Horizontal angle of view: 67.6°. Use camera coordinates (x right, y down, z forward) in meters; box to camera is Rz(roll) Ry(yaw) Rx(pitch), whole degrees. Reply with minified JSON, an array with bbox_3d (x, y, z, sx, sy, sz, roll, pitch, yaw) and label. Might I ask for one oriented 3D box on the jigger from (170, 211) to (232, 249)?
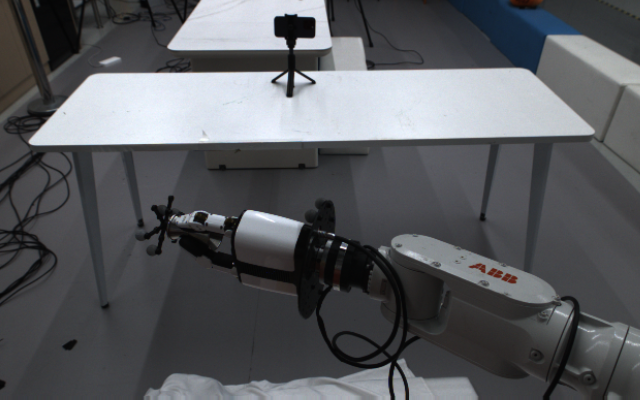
[{"bbox_3d":[-0.173,0.041,0.692,0.071,0.043,0.043,10,35,16],"label":"jigger"}]
